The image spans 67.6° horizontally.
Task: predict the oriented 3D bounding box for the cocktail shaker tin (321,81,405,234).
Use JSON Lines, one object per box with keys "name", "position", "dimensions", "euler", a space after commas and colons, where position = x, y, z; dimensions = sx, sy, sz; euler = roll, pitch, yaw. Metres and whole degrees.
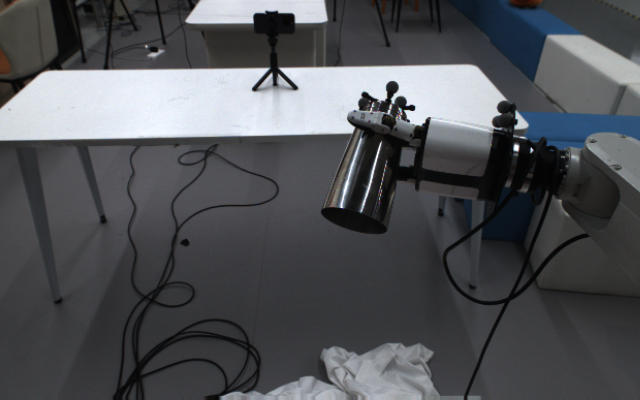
{"name": "cocktail shaker tin", "position": [0.072, -0.051, 0.674], "dimensions": [0.093, 0.093, 0.170], "euler": [13, 72, 15]}
